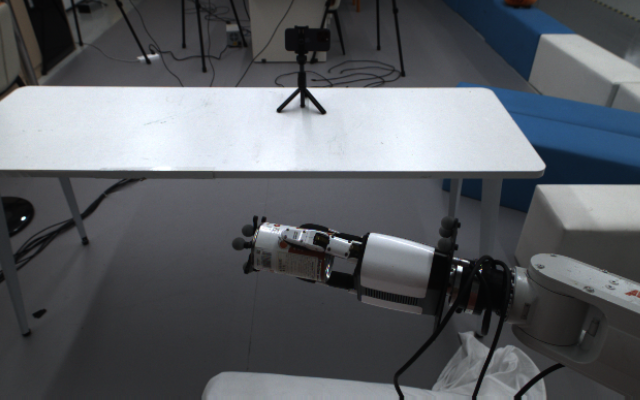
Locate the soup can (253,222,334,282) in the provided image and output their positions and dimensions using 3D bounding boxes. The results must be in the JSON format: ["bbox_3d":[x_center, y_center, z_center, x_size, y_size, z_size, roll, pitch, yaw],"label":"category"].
[{"bbox_3d":[-0.032,0.070,0.653,0.101,0.067,0.067,9,35,10],"label":"soup can"}]
